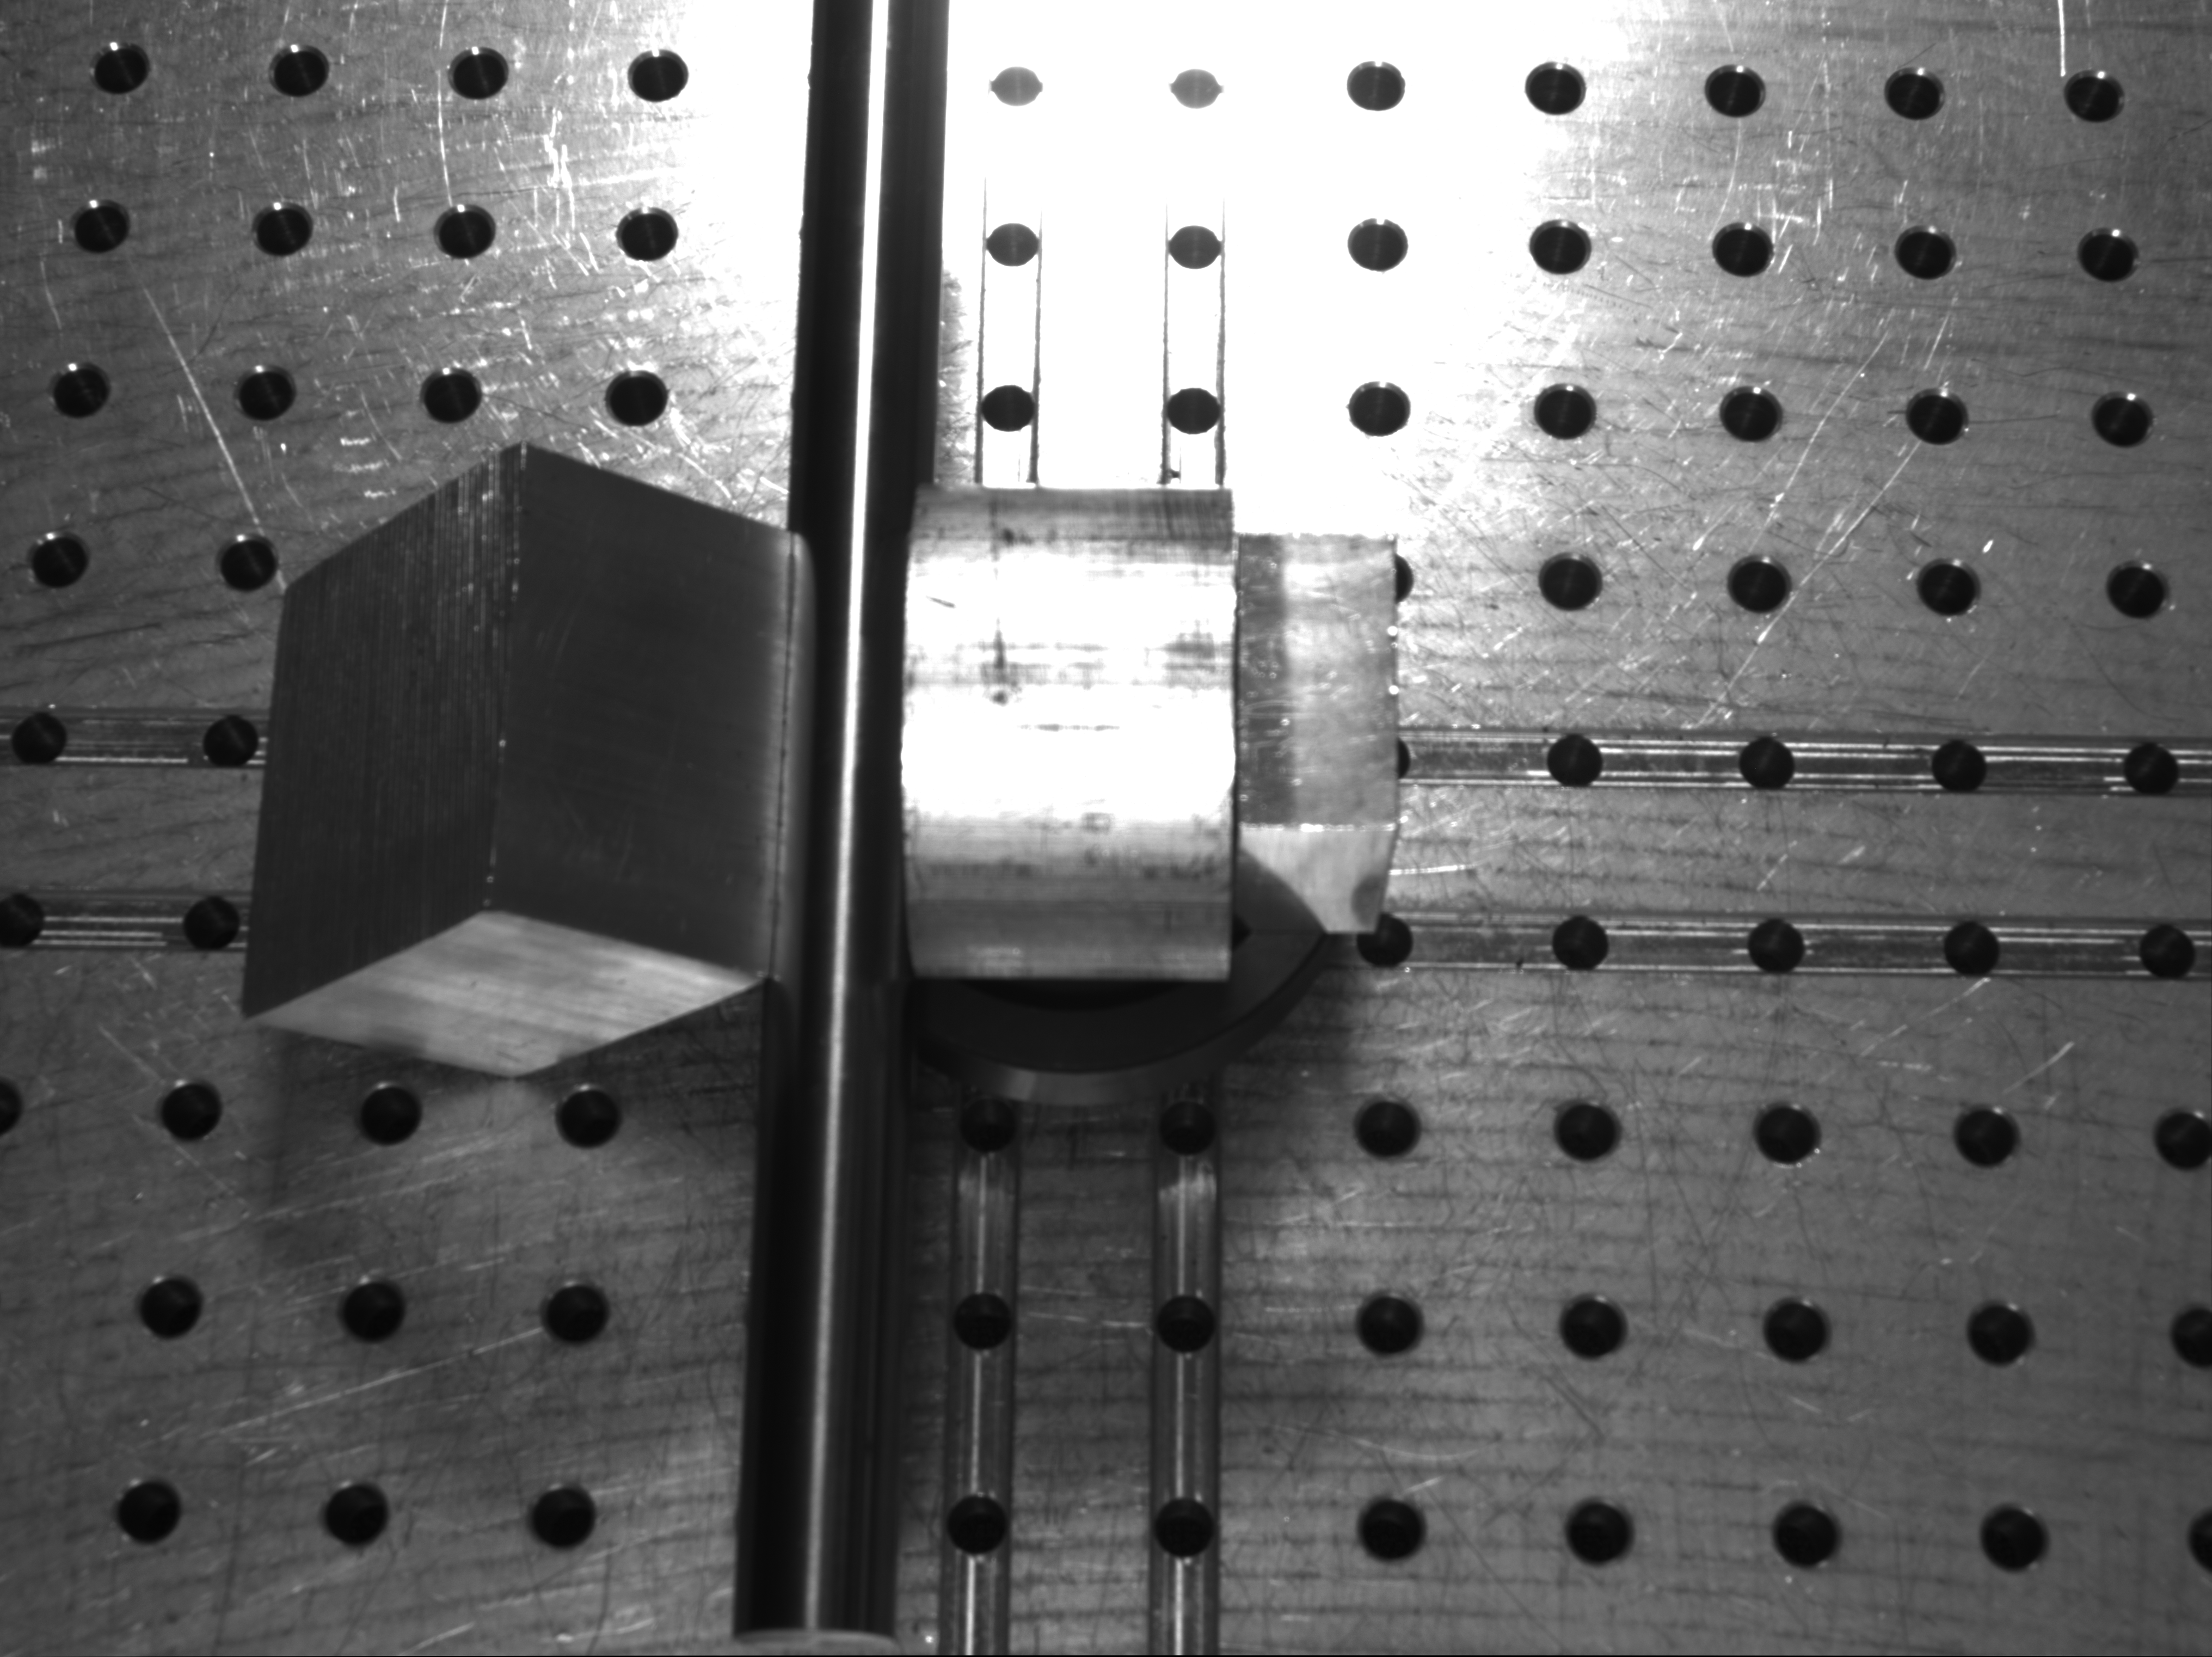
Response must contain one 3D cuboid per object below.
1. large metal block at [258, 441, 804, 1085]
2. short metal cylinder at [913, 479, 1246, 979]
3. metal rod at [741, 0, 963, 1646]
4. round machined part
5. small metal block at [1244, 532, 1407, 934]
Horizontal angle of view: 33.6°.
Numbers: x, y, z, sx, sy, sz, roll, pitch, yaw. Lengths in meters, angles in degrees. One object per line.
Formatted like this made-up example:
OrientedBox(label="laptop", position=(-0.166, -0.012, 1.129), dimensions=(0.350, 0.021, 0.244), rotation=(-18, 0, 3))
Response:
OrientedBox(label="large metal block", position=(-0.097, -0.008, 0.615), dimensions=(0.050, 0.080, 0.080), rotation=(18, 64, -37))
OrientedBox(label="short metal cylinder", position=(-0.004, -0.016, 0.592), dimensions=(0.050, 0.080, 0.080), rotation=(1, 70, 0))
OrientedBox(label="metal rod", position=(-0.041, -0.018, 0.610), dimensions=(0.025, 0.025, 0.300), rotation=(1, 70, 0))
OrientedBox(label="round machined part", position=(-0.003, 0.001, 0.637), dimensions=(0.098, 0.042, 0.098), rotation=(0, 70, 0))
OrientedBox(label="small metal block", position=(0.034, -0.015, 0.595), dimensions=(0.025, 0.050, 0.050), rotation=(1, 70, 1))
